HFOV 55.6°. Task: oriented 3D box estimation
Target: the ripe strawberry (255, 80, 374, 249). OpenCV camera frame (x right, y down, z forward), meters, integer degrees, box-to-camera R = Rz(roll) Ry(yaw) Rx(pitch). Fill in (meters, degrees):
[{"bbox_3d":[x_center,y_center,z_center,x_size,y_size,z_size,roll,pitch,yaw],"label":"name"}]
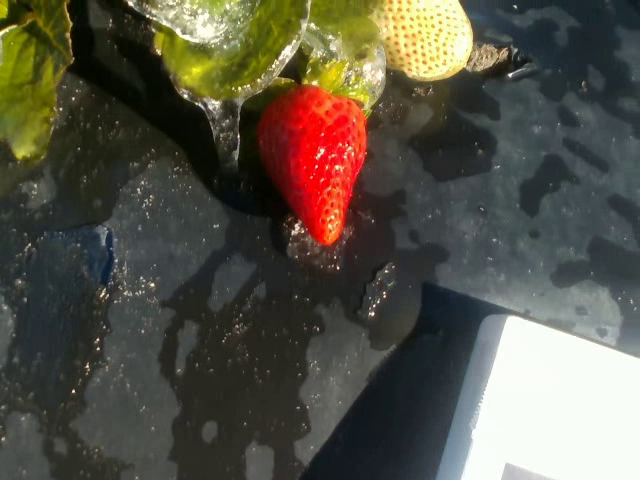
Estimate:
[{"bbox_3d":[0.002,-0.024,0.182,0.041,0.052,0.040,2,-15,-8],"label":"ripe strawberry"}]
